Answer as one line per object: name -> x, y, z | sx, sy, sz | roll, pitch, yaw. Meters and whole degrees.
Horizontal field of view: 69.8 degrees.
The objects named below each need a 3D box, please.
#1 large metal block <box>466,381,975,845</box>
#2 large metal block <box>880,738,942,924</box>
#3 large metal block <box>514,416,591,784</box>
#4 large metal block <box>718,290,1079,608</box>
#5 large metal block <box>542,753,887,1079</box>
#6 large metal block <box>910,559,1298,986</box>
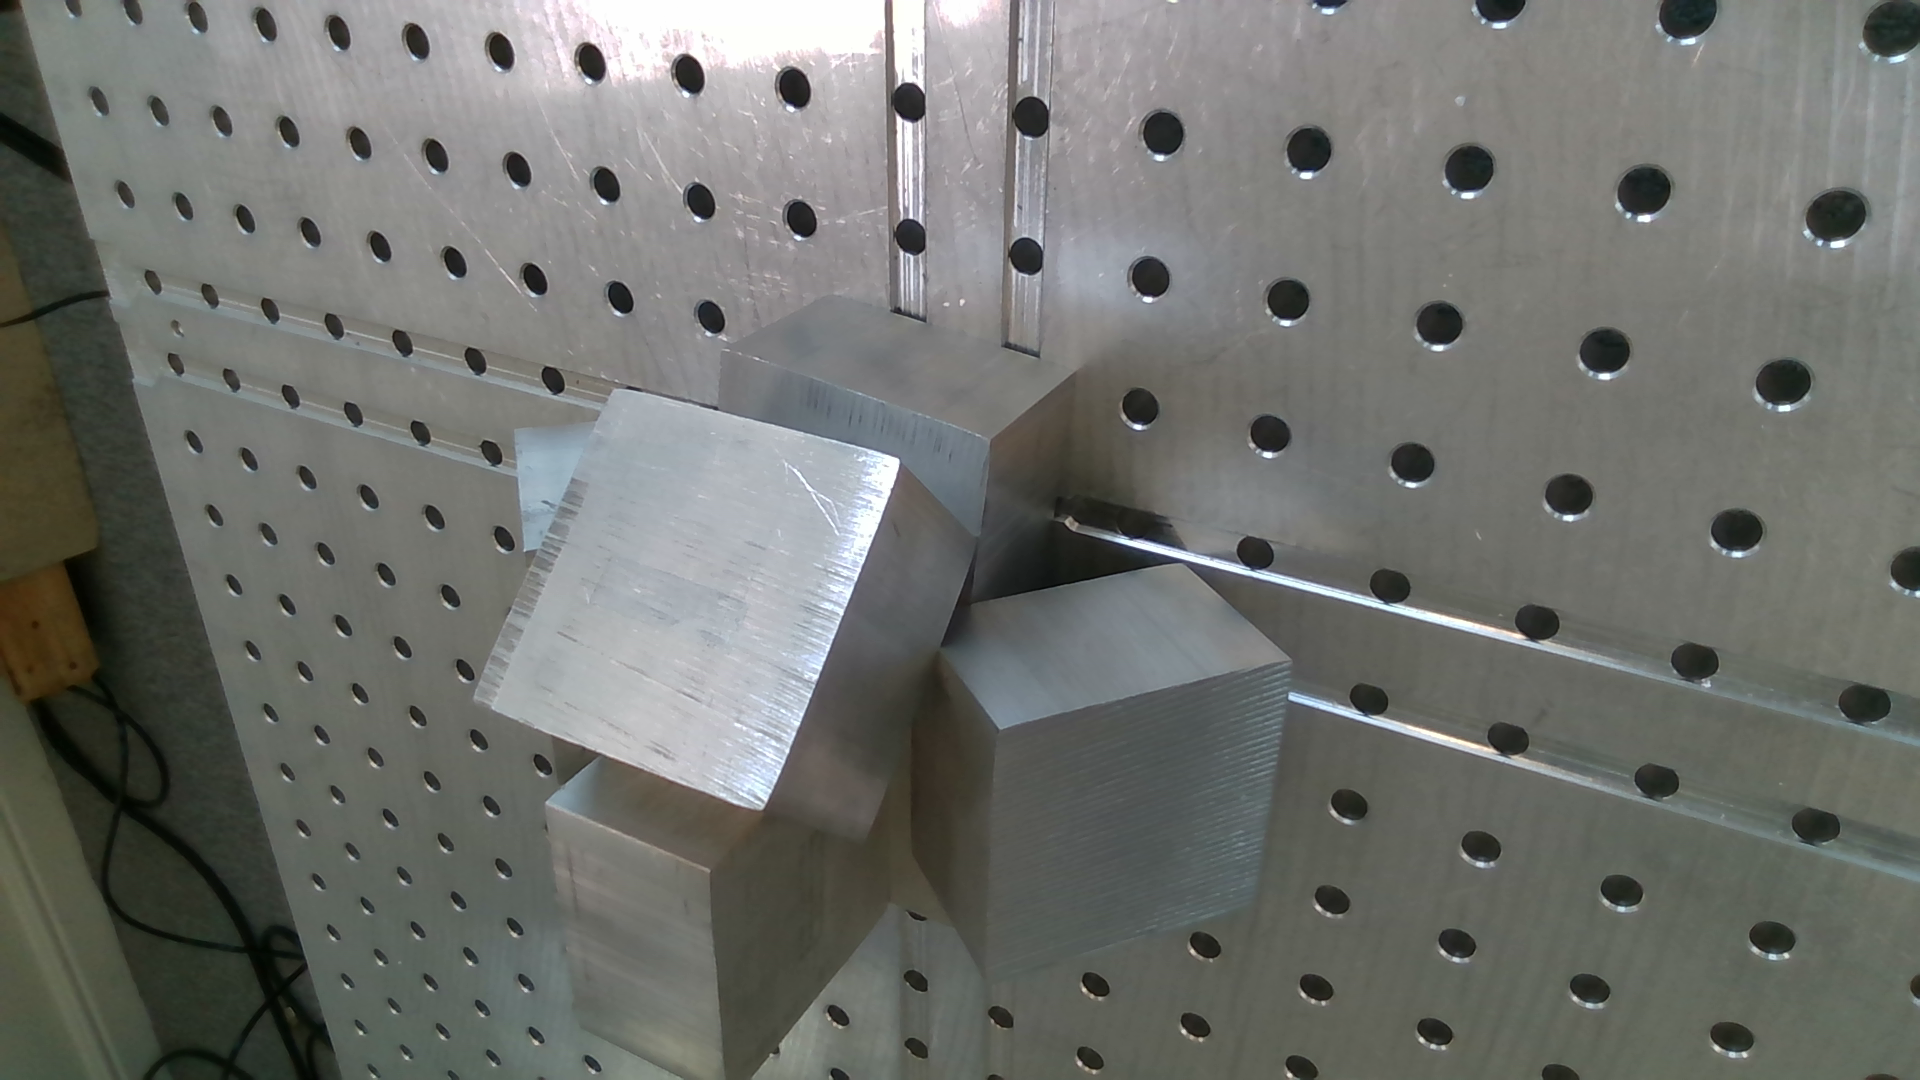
large metal block -> -0.054, 0.017, 0.323 | 0.080, 0.050, 0.080 | 16, 78, 24
large metal block -> -0.023, 0.060, 0.422 | 0.080, 0.050, 0.080 | 17, 123, 23
large metal block -> -0.104, 0.015, 0.420 | 0.080, 0.050, 0.080 | -122, 29, -56
large metal block -> -0.019, -0.014, 0.380 | 0.080, 0.050, 0.080 | 20, 124, 21
large metal block -> -0.062, 0.087, 0.377 | 0.050, 0.080, 0.080 | 16, 122, 24
large metal block -> 0.034, 0.058, 0.358 | 0.050, 0.080, 0.080 | -130, 36, -53
